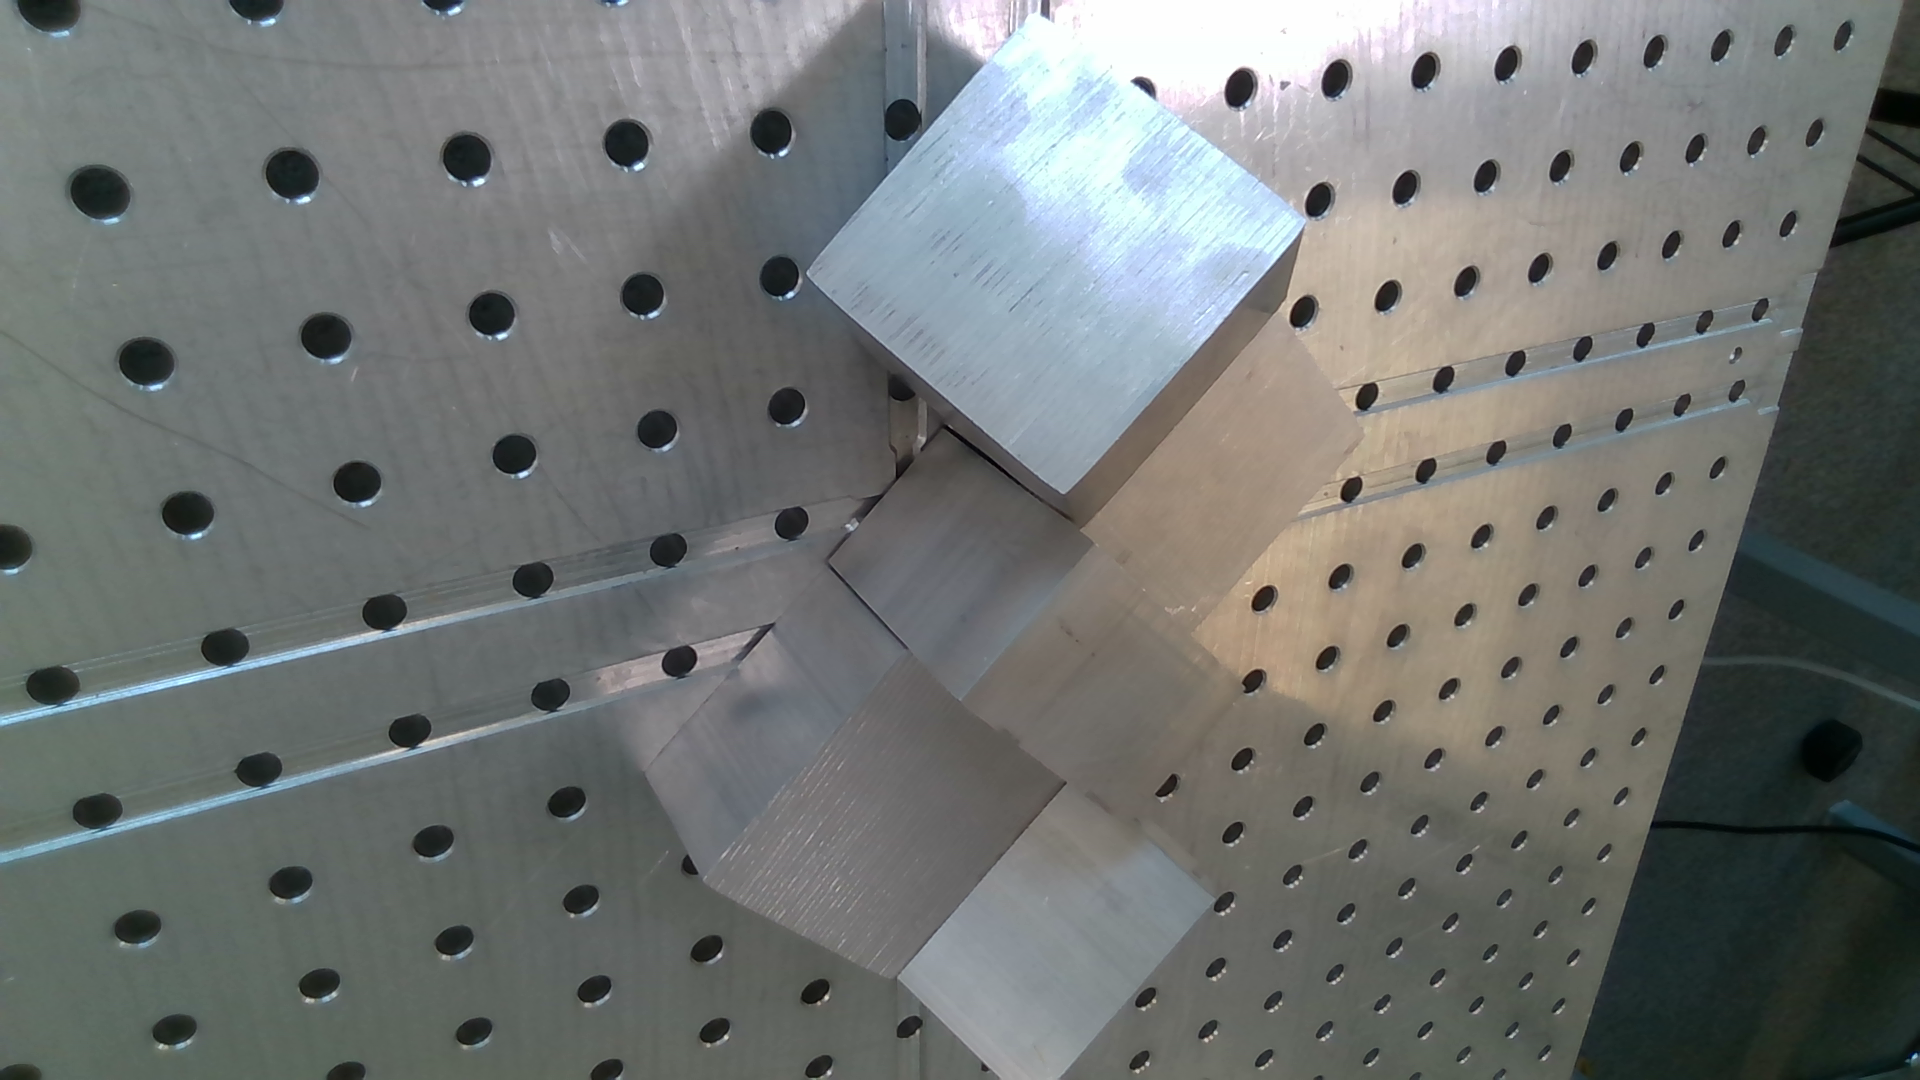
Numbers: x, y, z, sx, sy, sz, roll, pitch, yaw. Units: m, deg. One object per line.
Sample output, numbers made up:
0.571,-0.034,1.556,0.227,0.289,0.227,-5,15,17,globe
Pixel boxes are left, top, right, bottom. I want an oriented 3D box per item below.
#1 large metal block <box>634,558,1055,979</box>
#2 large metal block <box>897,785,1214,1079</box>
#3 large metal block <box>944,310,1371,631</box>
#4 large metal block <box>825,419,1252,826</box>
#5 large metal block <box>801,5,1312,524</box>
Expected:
-0.030,0.066,0.393,0.080,0.050,0.080,-49,129,-1,large metal block
0.032,0.118,0.432,0.080,0.050,0.080,-48,169,0,large metal block
0.057,-0.032,0.393,0.080,0.050,0.080,-49,128,1,large metal block
0.021,0.022,0.381,0.050,0.080,0.080,-49,129,1,large metal block
0.024,-0.062,0.328,0.080,0.080,0.050,-48,168,0,large metal block
